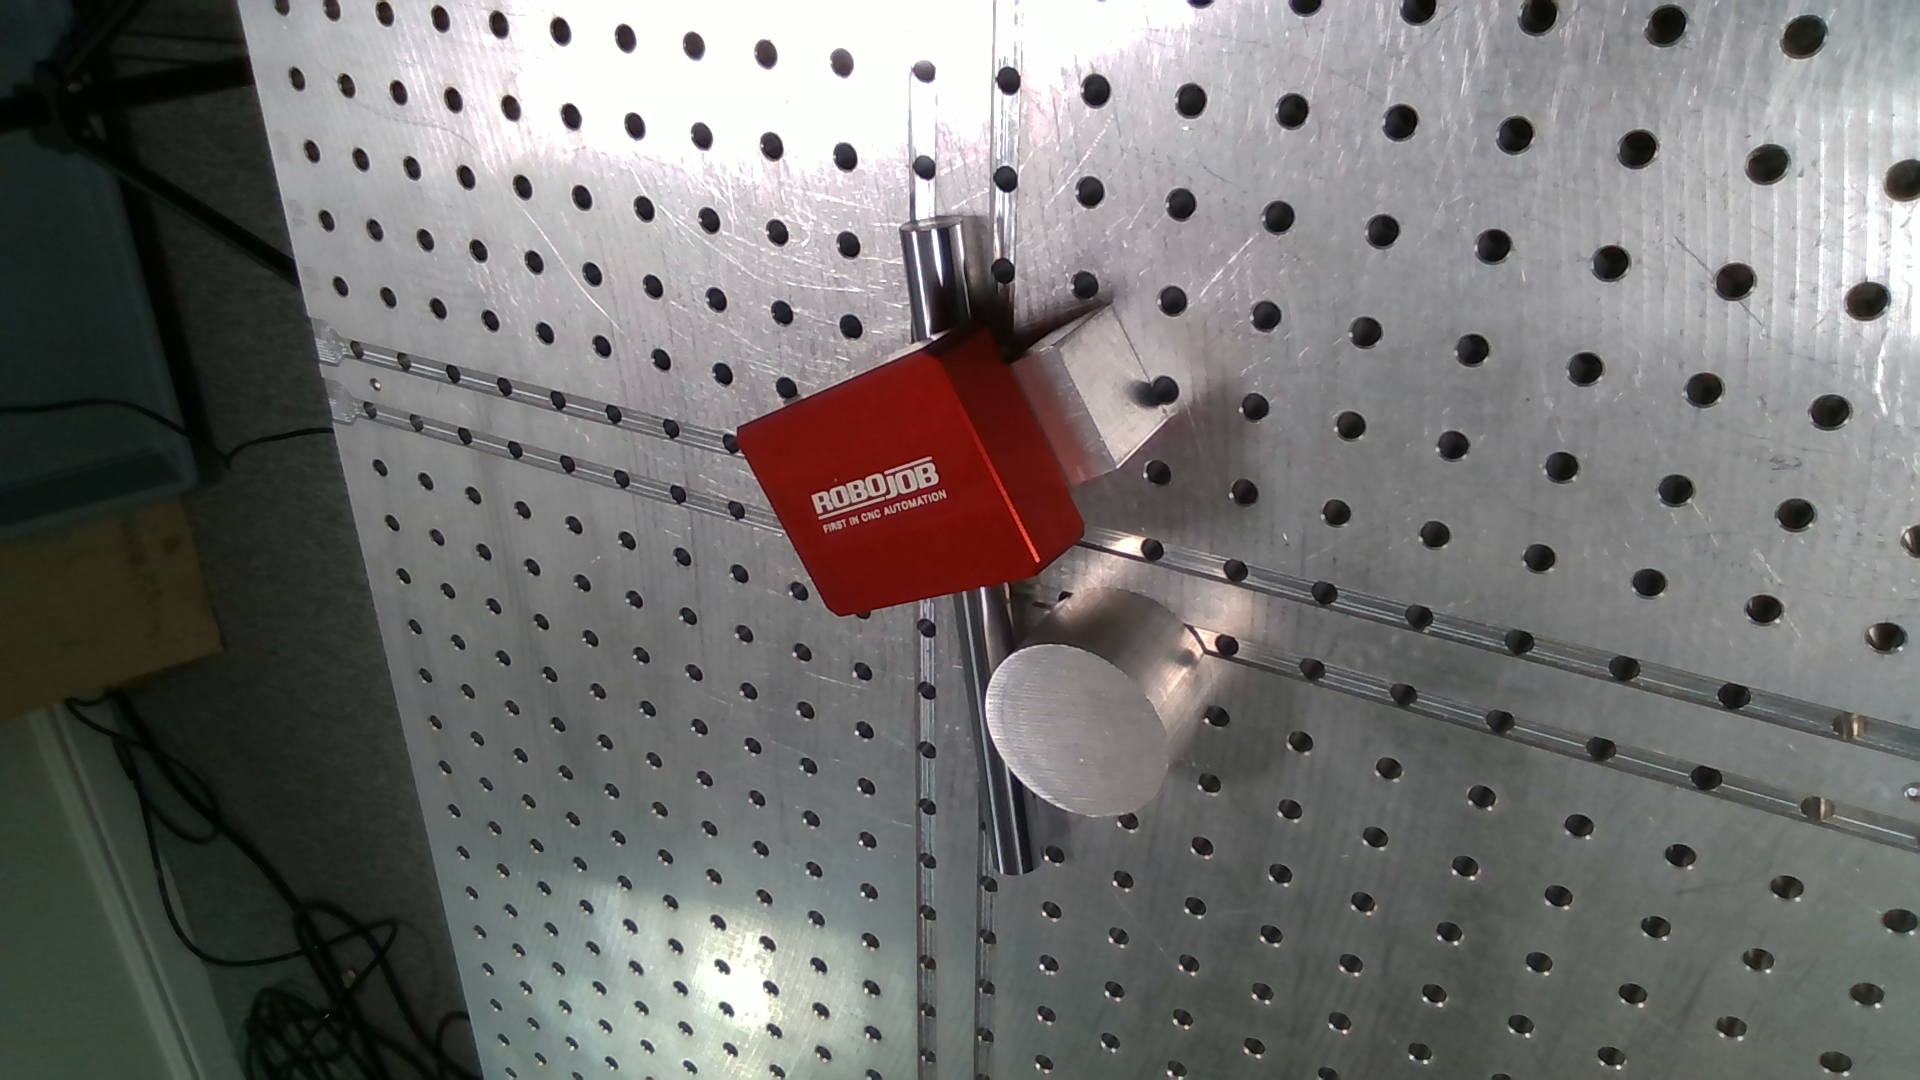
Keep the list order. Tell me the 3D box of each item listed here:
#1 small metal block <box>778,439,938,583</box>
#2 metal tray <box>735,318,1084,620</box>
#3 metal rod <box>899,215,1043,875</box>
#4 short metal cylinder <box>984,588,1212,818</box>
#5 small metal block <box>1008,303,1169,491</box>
[{"bbox_3d":[-0.045,-0.012,0.602,0.050,0.025,0.050,-10,109,35],"label":"small metal block"},{"bbox_3d":[-0.024,-0.023,0.532,0.130,0.030,0.090,-15,107,48],"label":"metal tray"},{"bbox_3d":[0.008,0.015,0.586,0.025,0.025,0.301,7,118,29],"label":"metal rod"},{"bbox_3d":[0.057,0.067,0.568,0.080,0.050,0.080,14,122,25],"label":"short metal cylinder"},{"bbox_3d":[0.047,-0.053,0.508,0.025,0.050,0.050,-20,103,37],"label":"small metal block"}]
